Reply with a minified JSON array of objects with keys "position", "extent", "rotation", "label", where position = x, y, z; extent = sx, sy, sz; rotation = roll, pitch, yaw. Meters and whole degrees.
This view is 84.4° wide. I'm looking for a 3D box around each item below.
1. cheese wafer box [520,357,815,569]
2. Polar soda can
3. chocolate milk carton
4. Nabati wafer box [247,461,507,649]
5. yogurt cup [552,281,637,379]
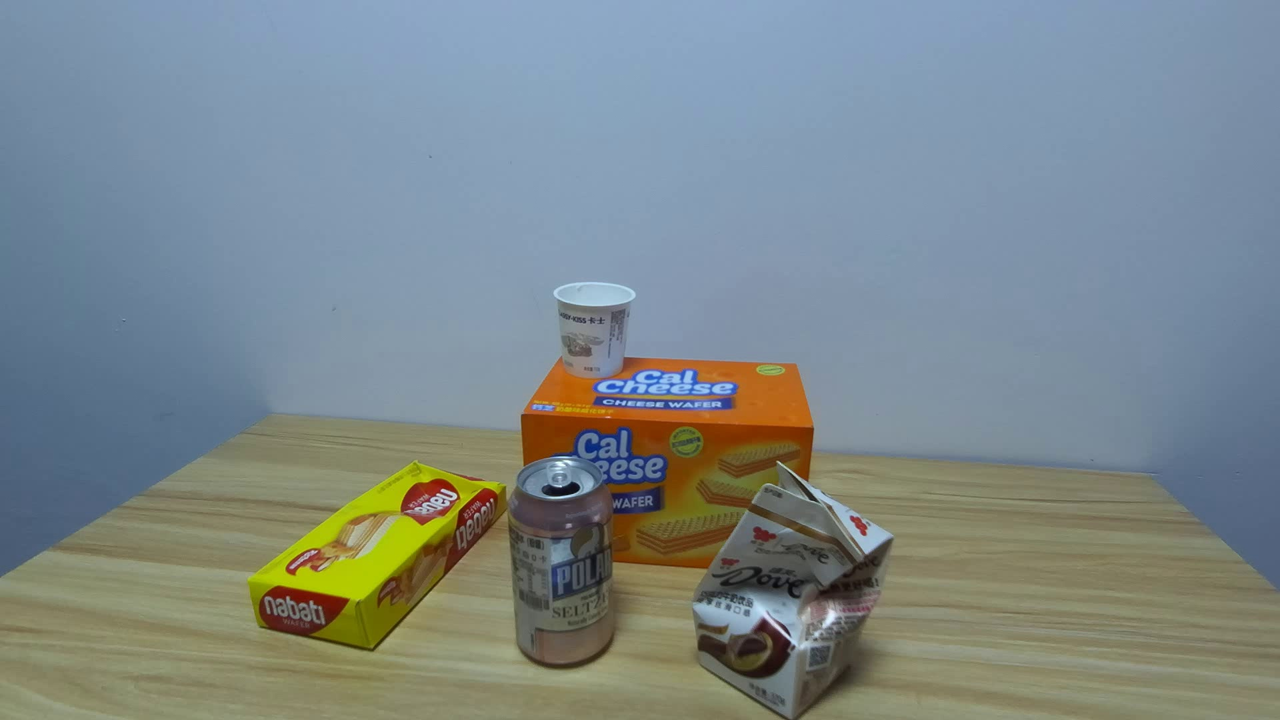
[{"position":[0.026,0.081,0.602],"extent":[0.222,0.129,0.148],"rotation":[3,19,6],"label":"cheese wafer box"},{"position":[-0.050,0.130,0.460],"extent":[0.067,0.125,0.067],"rotation":[0,19,0],"label":"Polar soda can"},{"position":[0.091,0.134,0.423],"extent":[0.089,0.155,0.077],"rotation":[30,36,29],"label":"chocolate milk carton"},{"position":[-0.192,0.140,0.558],"extent":[0.096,0.042,0.203],"rotation":[4,17,17],"label":"Nabati wafer box"},{"position":[-0.040,-0.025,0.608],"extent":[0.072,0.068,0.072],"rotation":[2,20,-1],"label":"yogurt cup"}]
